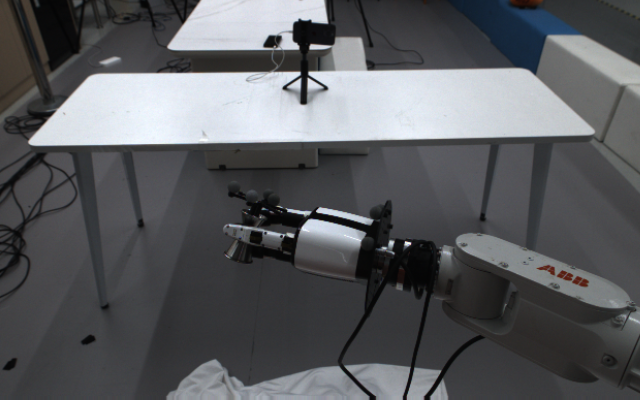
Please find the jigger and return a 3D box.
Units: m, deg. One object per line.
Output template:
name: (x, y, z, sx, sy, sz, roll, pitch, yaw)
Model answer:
jigger: (-0.105, 0.050, 0.682, 0.043, 0.071, 0.043, 21, 6, -2)
